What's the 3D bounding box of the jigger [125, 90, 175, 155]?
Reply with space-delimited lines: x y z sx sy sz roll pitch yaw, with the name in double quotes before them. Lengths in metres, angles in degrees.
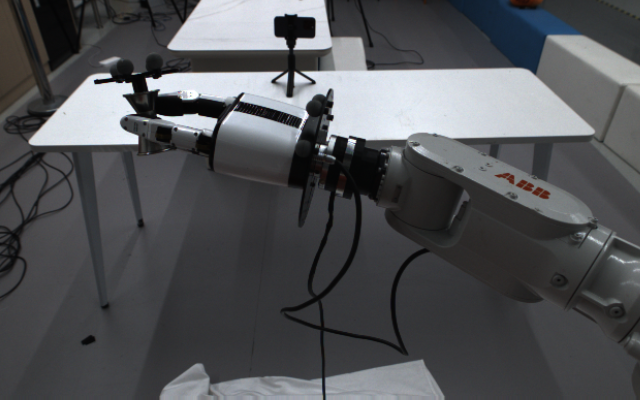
"jigger" -0.193 -0.087 0.553 0.043 0.071 0.043 -9 16 3
